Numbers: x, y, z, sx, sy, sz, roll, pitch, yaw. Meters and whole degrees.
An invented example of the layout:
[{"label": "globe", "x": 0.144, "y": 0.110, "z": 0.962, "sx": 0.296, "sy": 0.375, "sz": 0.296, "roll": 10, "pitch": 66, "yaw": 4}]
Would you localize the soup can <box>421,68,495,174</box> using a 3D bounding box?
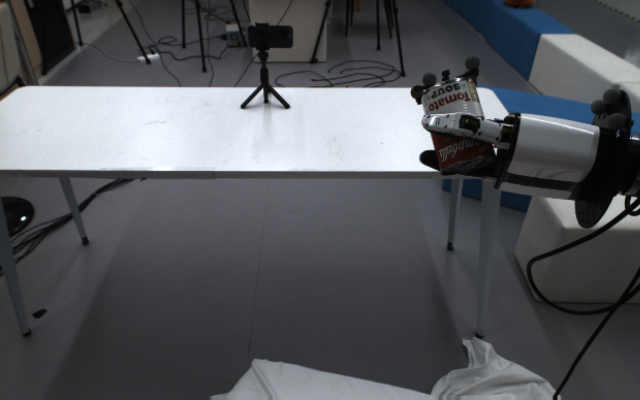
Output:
[{"label": "soup can", "x": 0.170, "y": -0.091, "z": 0.593, "sx": 0.067, "sy": 0.067, "sz": 0.101, "roll": -11, "pitch": 80, "yaw": -19}]
